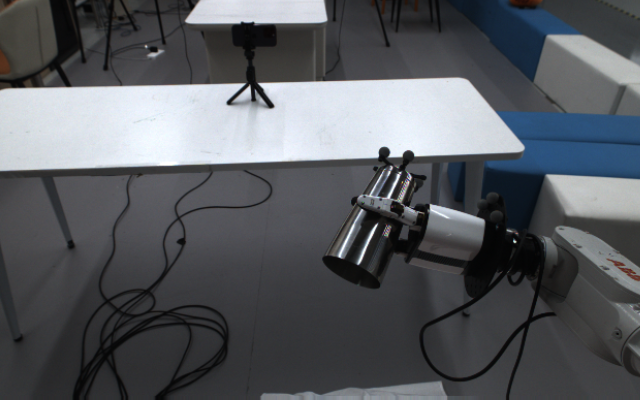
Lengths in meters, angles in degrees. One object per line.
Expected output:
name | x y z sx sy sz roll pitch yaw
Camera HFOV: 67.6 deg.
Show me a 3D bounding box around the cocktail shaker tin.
cocktail shaker tin | 0.083 0.031 0.716 0.093 0.093 0.170 18 66 21
